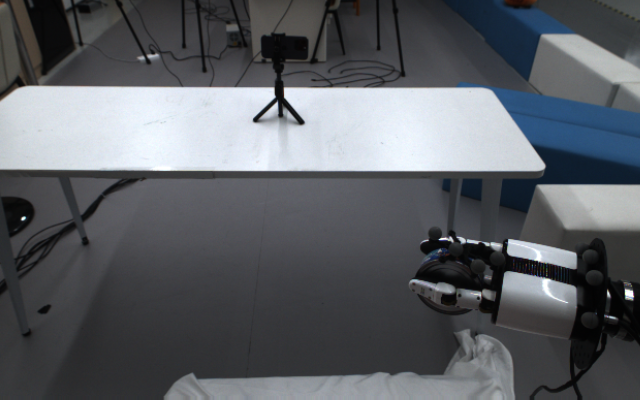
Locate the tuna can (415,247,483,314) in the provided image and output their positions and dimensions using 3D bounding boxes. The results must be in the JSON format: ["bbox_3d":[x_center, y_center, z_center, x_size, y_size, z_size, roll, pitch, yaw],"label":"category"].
[{"bbox_3d":[0.173,0.104,0.633,0.085,0.085,0.034,16,28,19],"label":"tuna can"}]
